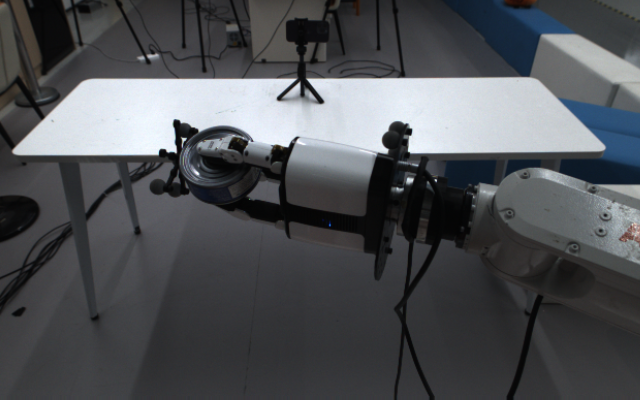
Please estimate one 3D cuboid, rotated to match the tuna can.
[{"bbox_3d":[-0.107,-0.041,0.531,0.085,0.034,0.085,-2,57,3],"label":"tuna can"}]
